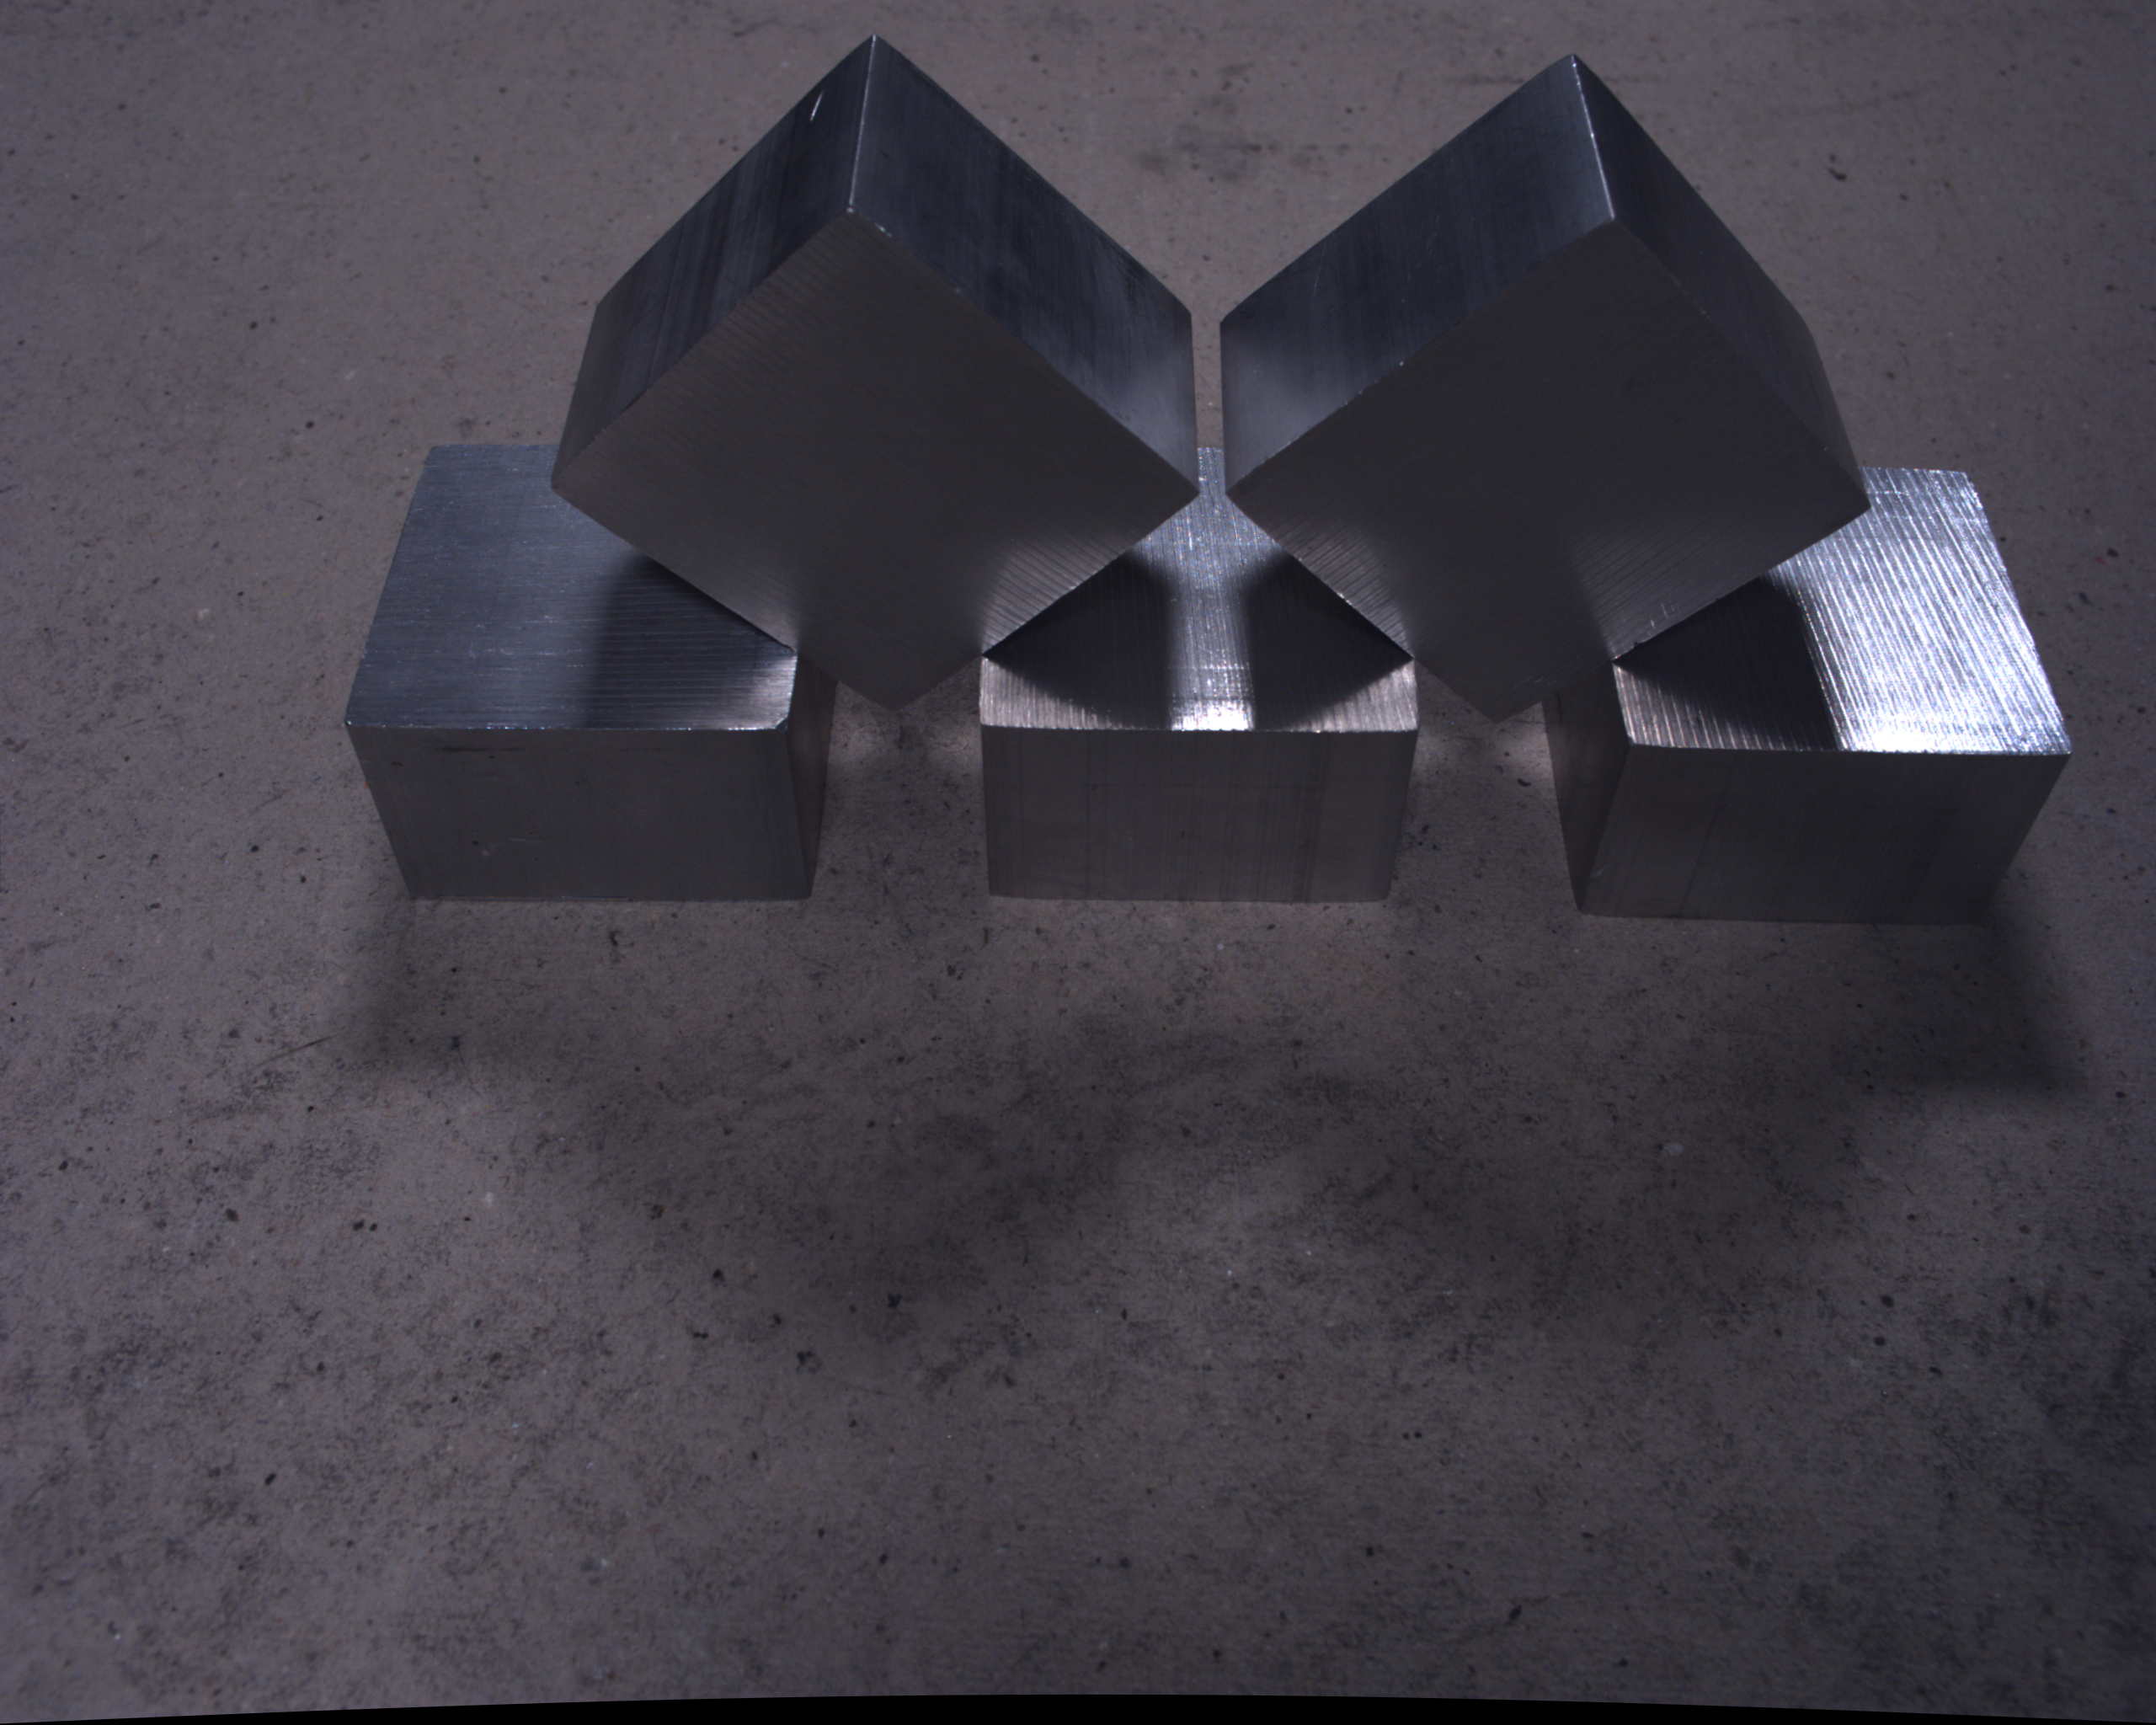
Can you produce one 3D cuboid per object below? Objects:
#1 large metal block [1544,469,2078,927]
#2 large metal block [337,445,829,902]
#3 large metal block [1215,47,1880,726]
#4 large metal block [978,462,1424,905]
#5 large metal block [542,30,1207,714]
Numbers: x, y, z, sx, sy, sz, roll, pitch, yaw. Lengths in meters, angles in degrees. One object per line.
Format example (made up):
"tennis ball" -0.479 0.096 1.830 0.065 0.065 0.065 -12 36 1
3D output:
"large metal block" 0.140 -0.034 0.420 0.081 0.050 0.080 1 50 0
"large metal block" -0.093 -0.039 0.420 0.081 0.050 0.080 0 50 0
"large metal block" 0.082 -0.082 0.377 0.080 0.080 0.050 -32 40 33
"large metal block" 0.023 -0.038 0.421 0.081 0.050 0.080 1 50 0
"large metal block" -0.035 -0.083 0.374 0.080 0.080 0.050 32 40 -34
